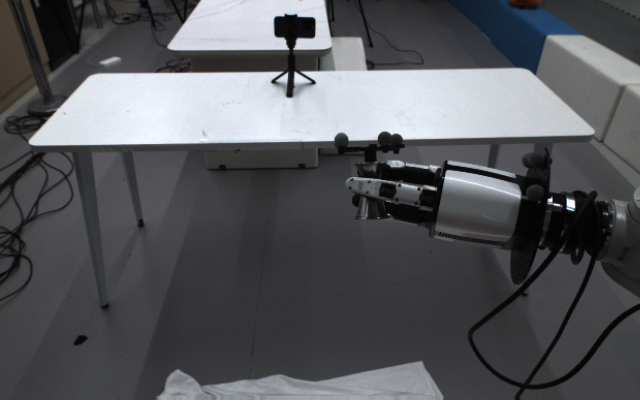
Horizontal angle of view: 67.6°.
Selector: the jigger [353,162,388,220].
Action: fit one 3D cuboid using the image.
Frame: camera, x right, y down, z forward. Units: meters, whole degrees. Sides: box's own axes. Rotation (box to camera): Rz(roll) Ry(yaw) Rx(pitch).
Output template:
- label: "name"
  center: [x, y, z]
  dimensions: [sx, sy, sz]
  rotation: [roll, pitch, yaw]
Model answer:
- label: "jigger"
  center: [0.062, -0.012, 0.593]
  dimensions: [0.043, 0.071, 0.043]
  rotation: [-2, 3, 0]
